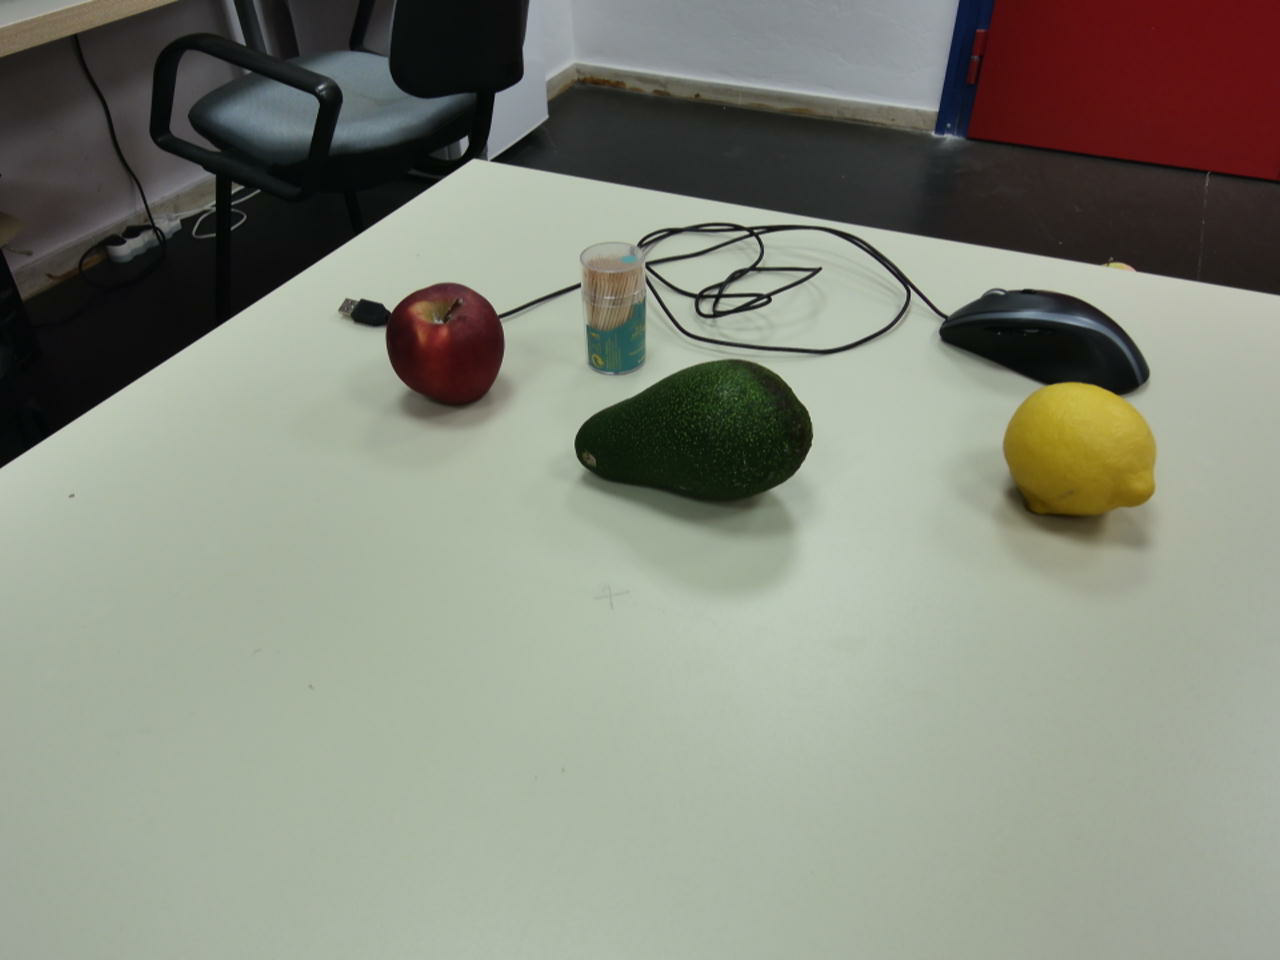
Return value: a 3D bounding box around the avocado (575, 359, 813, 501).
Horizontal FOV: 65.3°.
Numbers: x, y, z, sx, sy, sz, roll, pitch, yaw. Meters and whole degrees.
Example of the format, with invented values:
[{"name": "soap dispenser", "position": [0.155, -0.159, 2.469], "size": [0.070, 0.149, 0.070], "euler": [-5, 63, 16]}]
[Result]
[{"name": "avocado", "position": [0.031, -0.031, 0.524], "size": [0.123, 0.076, 0.074], "euler": [21, 43, 25]}]
